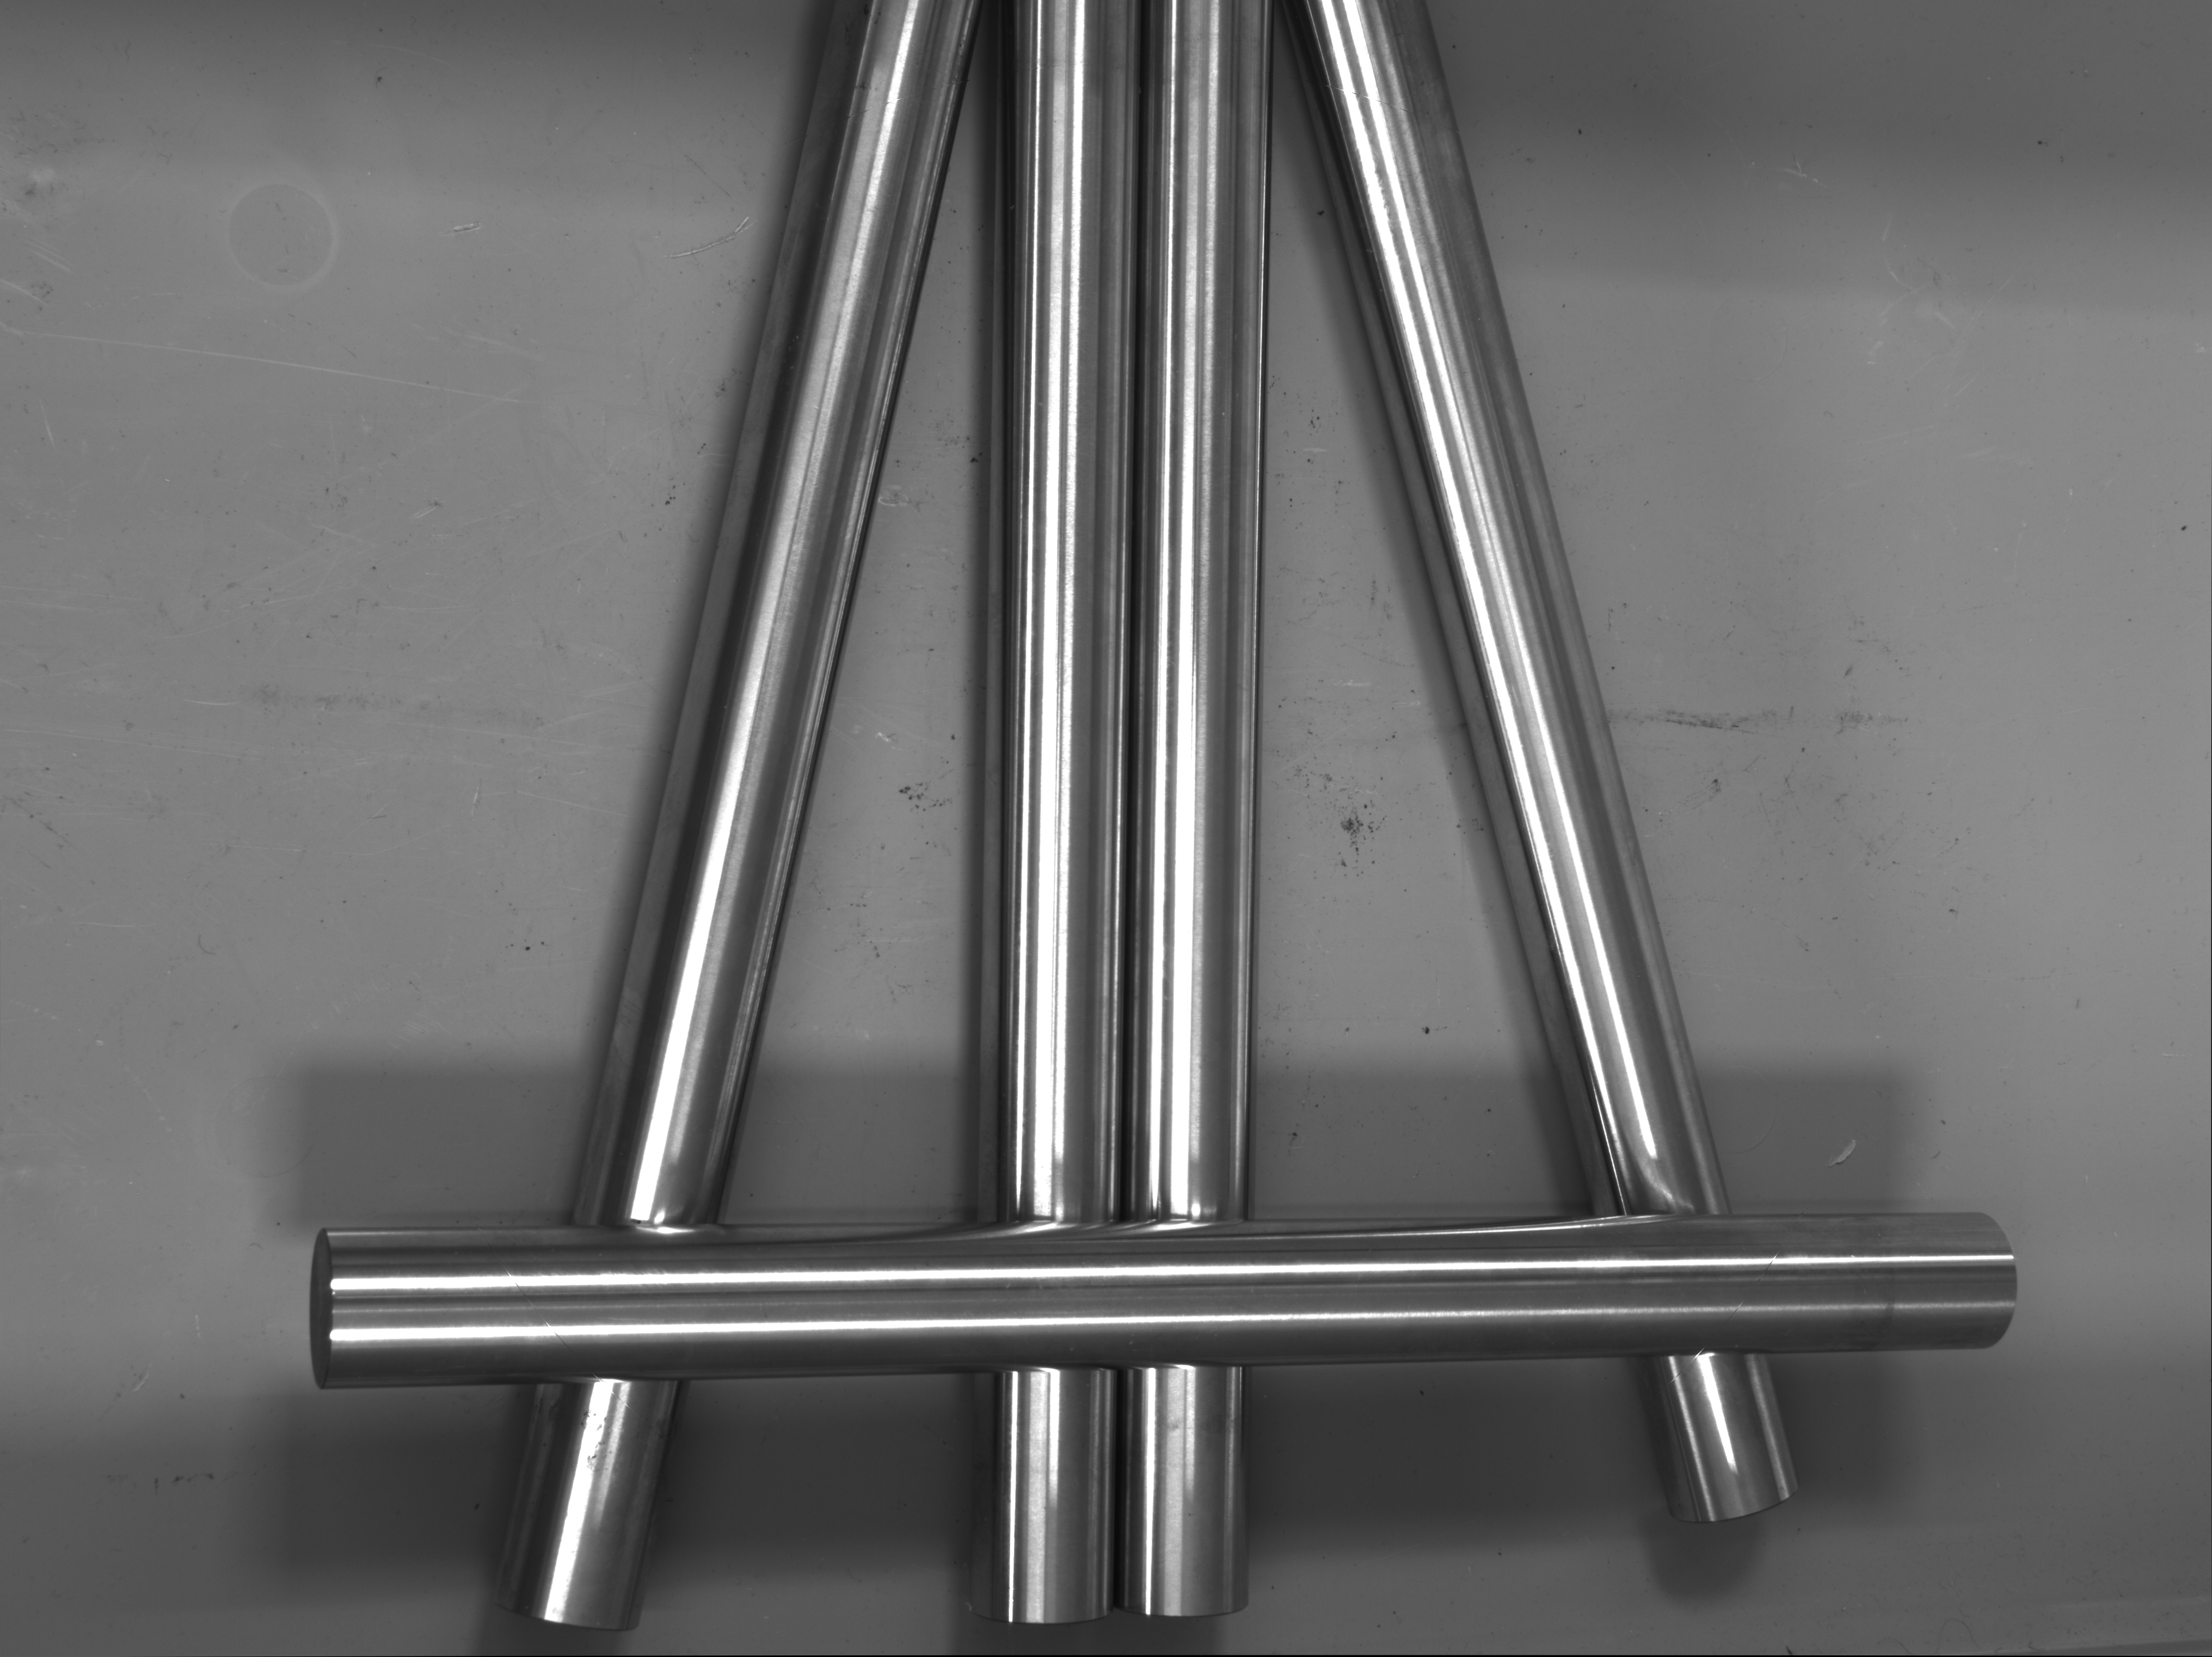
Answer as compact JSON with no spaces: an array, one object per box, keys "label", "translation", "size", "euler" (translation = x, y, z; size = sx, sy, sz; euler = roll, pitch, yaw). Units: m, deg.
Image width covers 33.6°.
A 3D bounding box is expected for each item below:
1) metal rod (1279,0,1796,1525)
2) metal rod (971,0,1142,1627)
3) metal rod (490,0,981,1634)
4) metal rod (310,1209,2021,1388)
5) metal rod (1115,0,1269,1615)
[{"label":"metal rod","translation":[0.078,-0.019,0.670],"size":[0.025,0.025,0.300],"euler":[-17,96,-19]},{"label":"metal rod","translation":[-0.008,-0.014,0.639],"size":[0.025,0.025,0.300],"euler":[1,90,-20]},{"label":"metal rod","translation":[-0.060,-0.016,0.620],"size":[0.025,0.025,0.300],"euler":[13,86,-19]},{"label":"metal rod","translation":[0.019,0.078,0.621],"size":[0.301,0.025,0.025],"euler":[2,89,-20]},{"label":"metal rod","translation":[0.015,-0.014,0.647],"size":[0.025,0.025,0.300],"euler":[1,90,-20]}]
